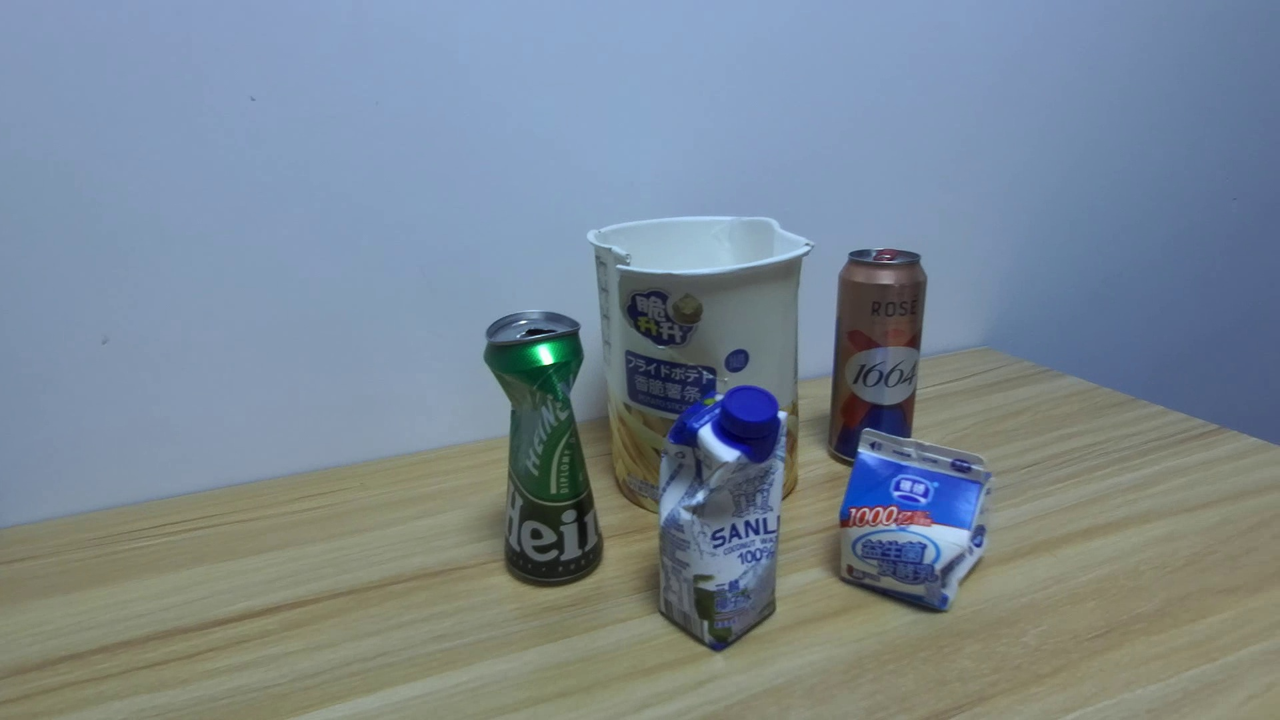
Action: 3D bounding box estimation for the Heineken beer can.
[{"bbox_3d":[-0.059,0.055,0.443,0.066,0.164,0.078,2,21,13],"label":"Heineken beer can"}]

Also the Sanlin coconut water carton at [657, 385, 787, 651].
[{"bbox_3d":[0.042,0.080,0.384,0.061,0.144,0.069,-18,26,-37],"label":"Sanlin coconut water carton"}]

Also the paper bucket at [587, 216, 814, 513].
[{"bbox_3d":[0.050,-0.001,0.535,0.146,0.197,0.202,-8,20,-9],"label":"paper bucket"}]

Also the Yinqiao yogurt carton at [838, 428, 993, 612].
[{"bbox_3d":[0.165,0.089,0.420,0.074,0.097,0.080,9,29,31],"label":"Yinqiao yogurt carton"}]
